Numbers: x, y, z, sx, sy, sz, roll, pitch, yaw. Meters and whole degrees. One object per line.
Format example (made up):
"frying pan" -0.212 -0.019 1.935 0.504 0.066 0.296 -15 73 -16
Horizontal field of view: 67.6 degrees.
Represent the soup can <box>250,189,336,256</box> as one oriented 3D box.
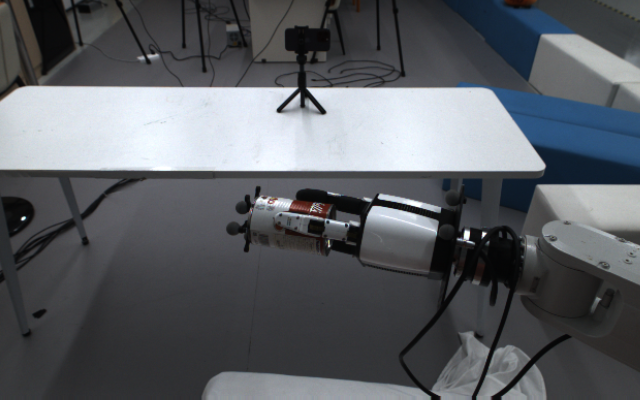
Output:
"soup can" -0.033 0.032 0.627 0.101 0.067 0.067 7 35 11
